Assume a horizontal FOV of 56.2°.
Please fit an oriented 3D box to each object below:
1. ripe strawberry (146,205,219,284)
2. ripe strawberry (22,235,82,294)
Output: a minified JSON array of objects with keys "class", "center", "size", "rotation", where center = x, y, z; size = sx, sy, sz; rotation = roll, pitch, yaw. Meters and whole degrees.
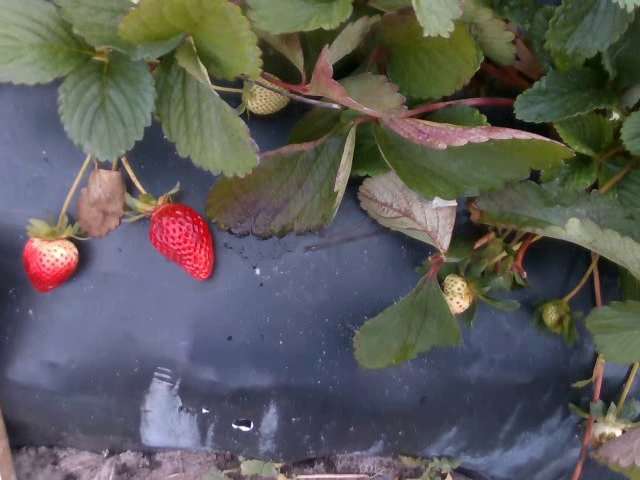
[{"class":"ripe strawberry","center":[-0.082,0.001,0.352],"size":[0.044,0.059,0.042],"rotation":[-21,15,32]},{"class":"ripe strawberry","center":[-0.161,0.015,0.351],"size":[0.036,0.041,0.028],"rotation":[16,22,1]}]
